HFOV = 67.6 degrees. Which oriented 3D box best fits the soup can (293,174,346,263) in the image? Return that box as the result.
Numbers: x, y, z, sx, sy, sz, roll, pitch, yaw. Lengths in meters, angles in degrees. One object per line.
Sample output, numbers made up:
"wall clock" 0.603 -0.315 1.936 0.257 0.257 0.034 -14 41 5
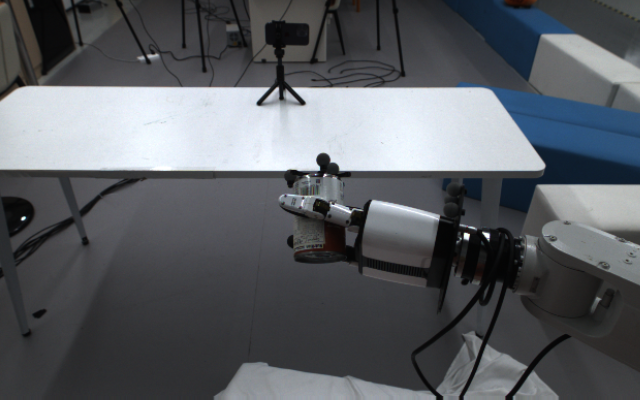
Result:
"soup can" 0.001 0.024 0.615 0.067 0.067 0.101 -1 71 -5
